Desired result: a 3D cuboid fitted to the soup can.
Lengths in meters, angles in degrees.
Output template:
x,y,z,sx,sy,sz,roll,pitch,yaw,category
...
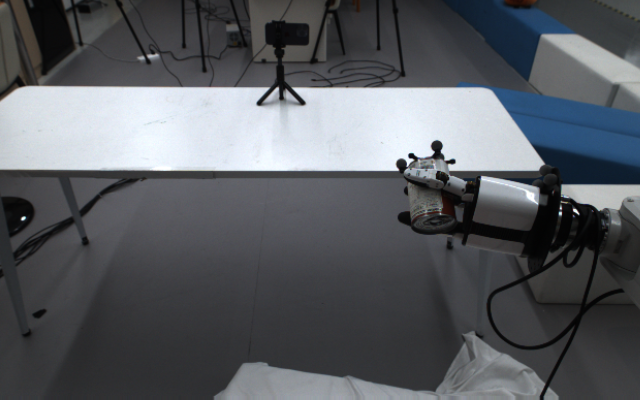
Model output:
x,y,z,sx,sy,sz,roll,pitch,yaw,category
0.170,-0.008,0.742,0.067,0.067,0.101,1,61,-2,soup can
